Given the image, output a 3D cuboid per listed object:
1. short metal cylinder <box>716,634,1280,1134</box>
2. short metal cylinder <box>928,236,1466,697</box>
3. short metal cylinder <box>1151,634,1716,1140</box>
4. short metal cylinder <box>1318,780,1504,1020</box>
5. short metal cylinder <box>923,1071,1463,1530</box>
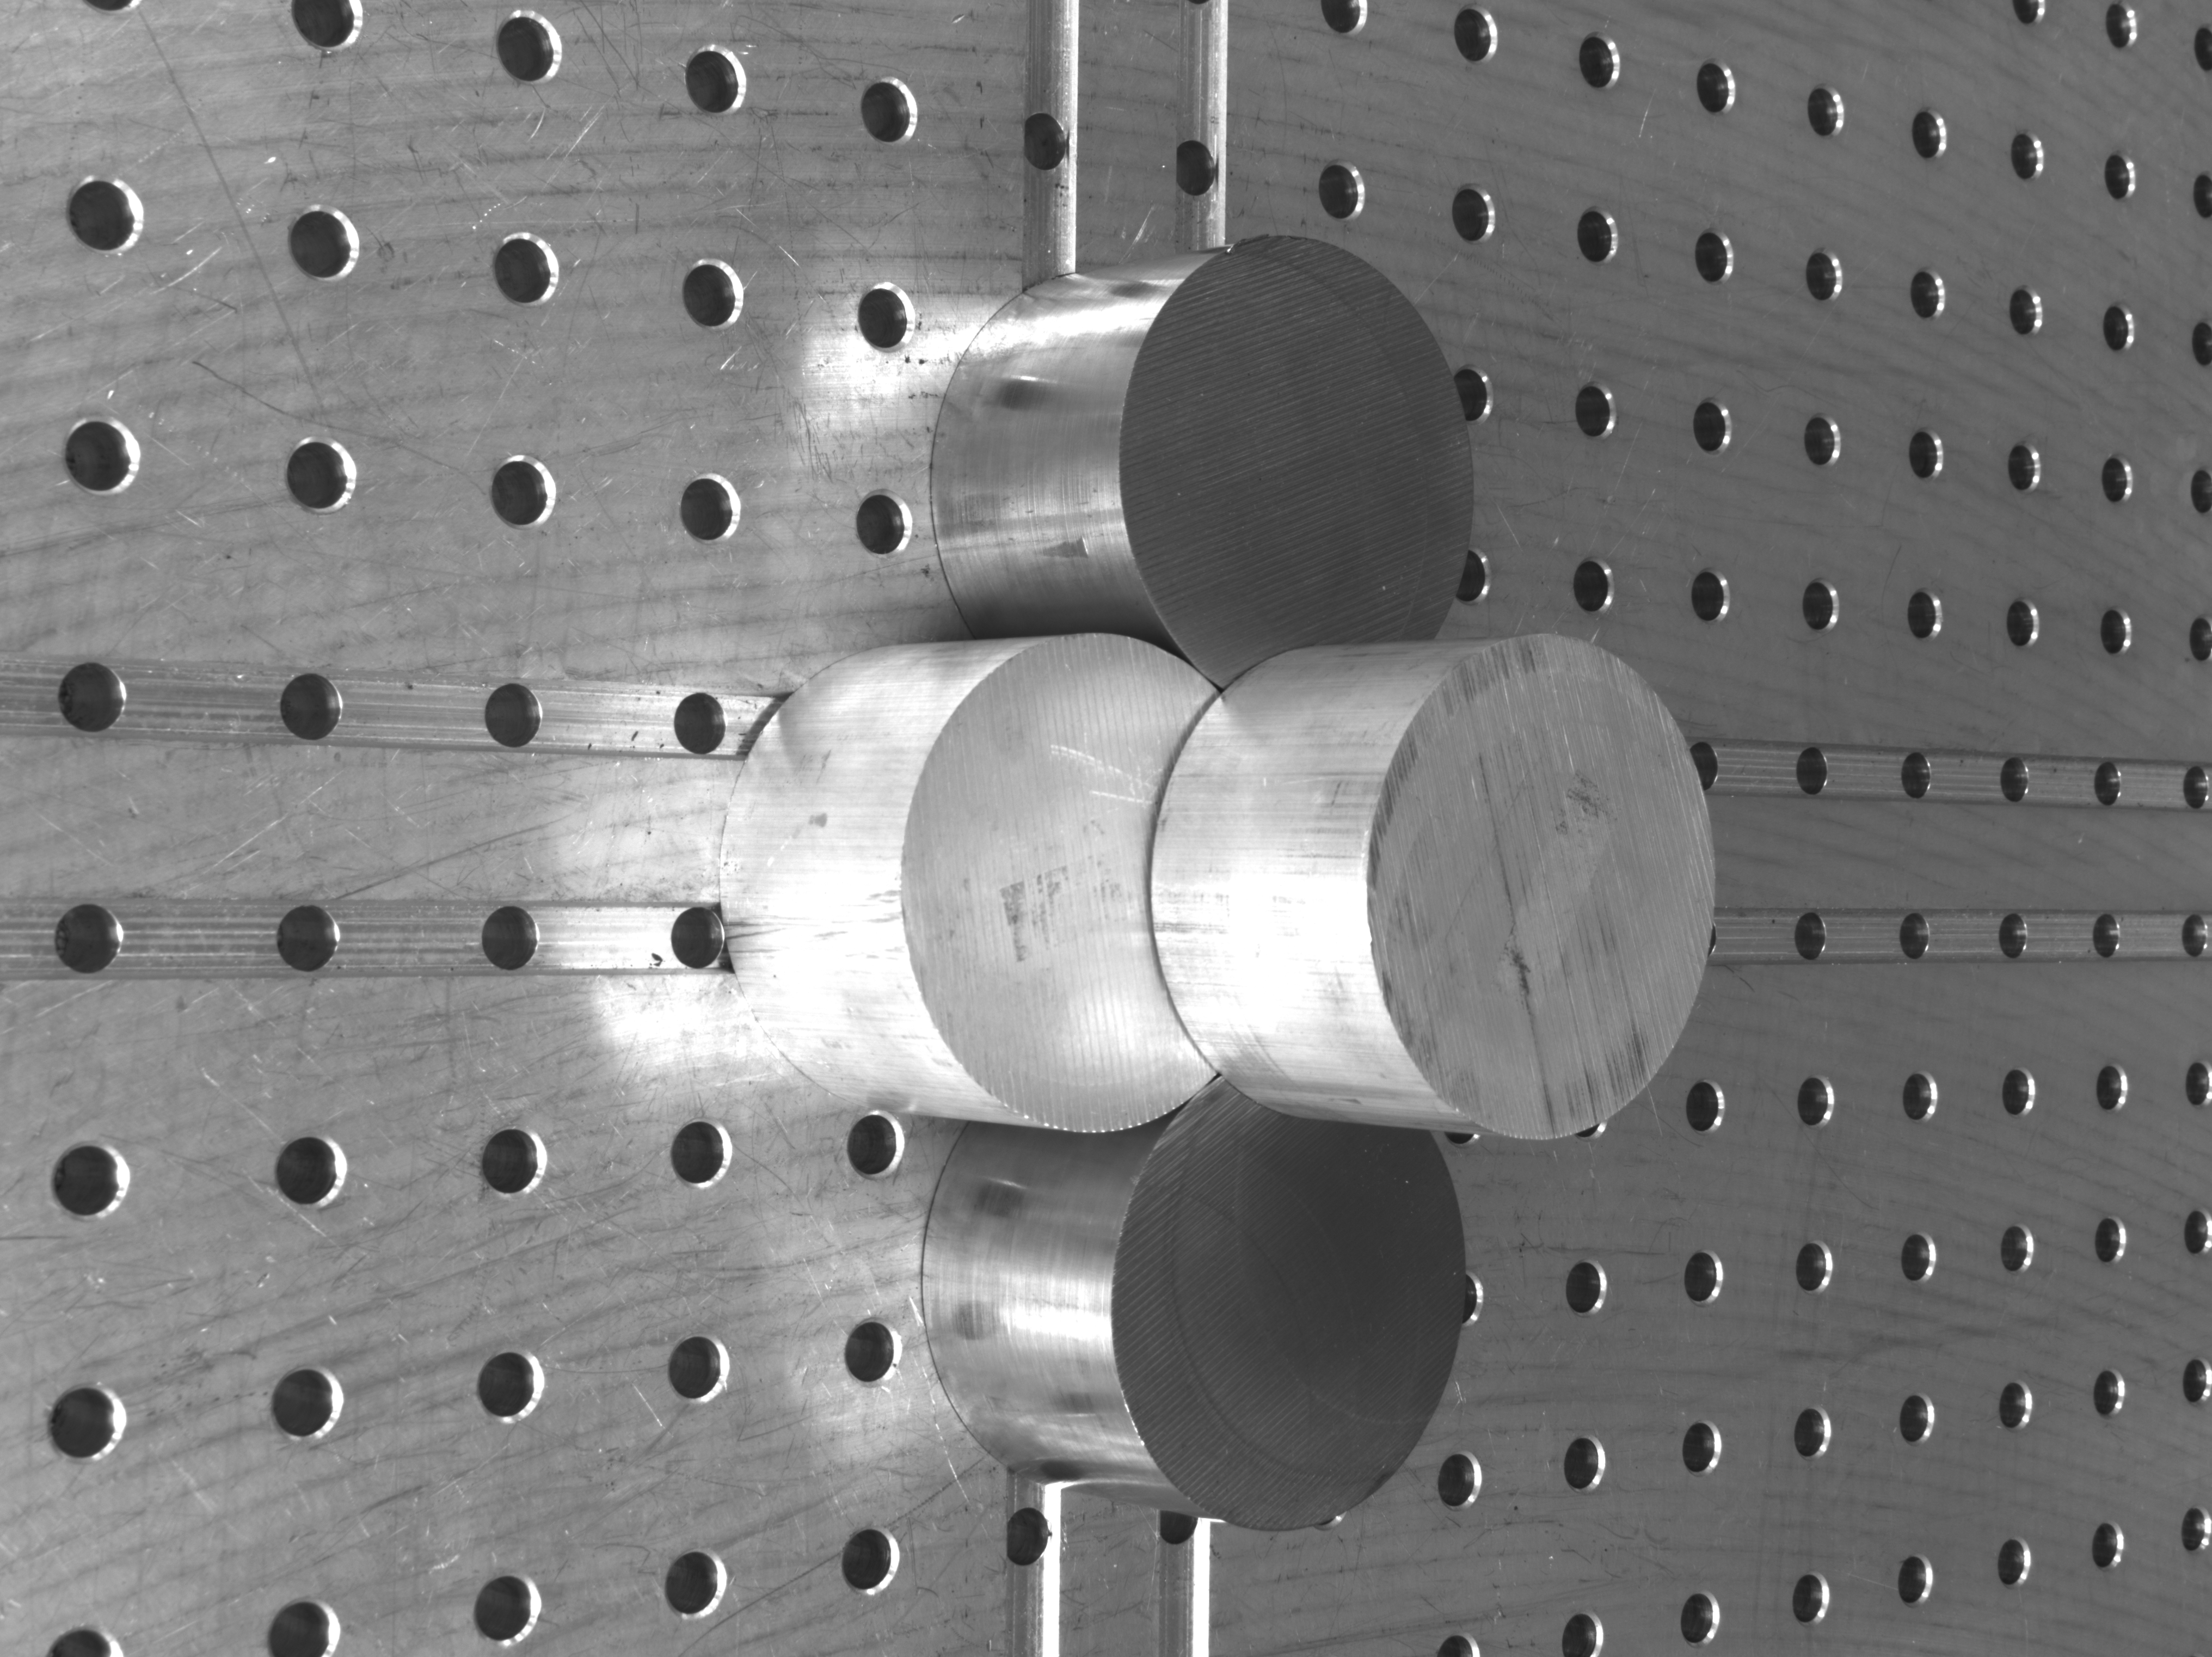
[{"bbox_3d":[-0.017,0.009,0.609,0.080,0.050,0.080,0,90,-40],"label":"short metal cylinder"},{"bbox_3d":[0.016,-0.059,0.637,0.080,0.050,0.080,0,90,-41],"label":"short metal cylinder"},{"bbox_3d":[0.054,0.009,0.602,0.080,0.050,0.080,0,90,-40],"label":"short metal cylinder"},{"bbox_3d":[0.049,0.010,0.663,0.080,0.050,0.080,0,90,-40],"label":"short metal cylinder"},{"bbox_3d":[0.016,0.078,0.635,0.080,0.050,0.080,3,86,-40],"label":"short metal cylinder"}]
